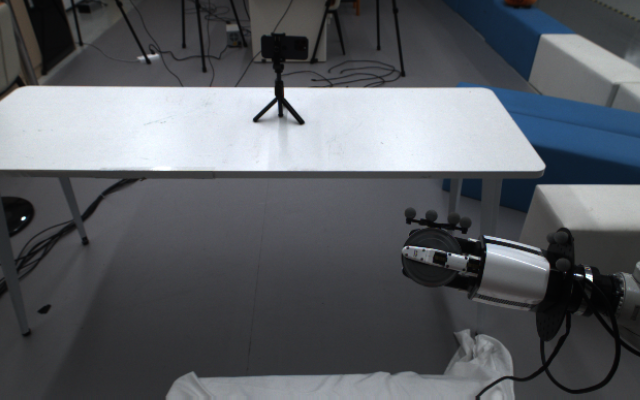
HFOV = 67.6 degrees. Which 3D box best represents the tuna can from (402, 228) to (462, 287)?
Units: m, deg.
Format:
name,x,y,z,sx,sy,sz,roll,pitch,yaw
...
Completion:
name,x,y,z,sx,sy,sz,roll,pitch,yaw
tuna can,0.164,0.078,0.705,0.085,0.085,0.034,10,-6,12
